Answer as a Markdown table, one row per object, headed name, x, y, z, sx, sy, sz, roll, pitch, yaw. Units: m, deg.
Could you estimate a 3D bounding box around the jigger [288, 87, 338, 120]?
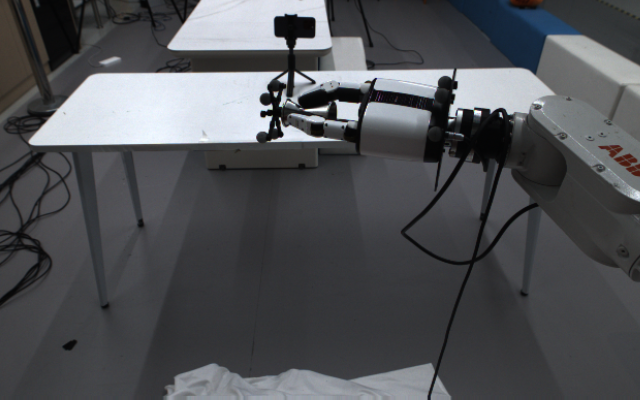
| name | x | y | z | sx | sy | sz | roll | pitch | yaw |
| --- | --- | --- | --- | --- | --- | --- | --- | --- | --- |
| jigger | -0.009 | -0.121 | 0.671 | 0.071 | 0.043 | 0.043 | 8 | 35 | 17 |
